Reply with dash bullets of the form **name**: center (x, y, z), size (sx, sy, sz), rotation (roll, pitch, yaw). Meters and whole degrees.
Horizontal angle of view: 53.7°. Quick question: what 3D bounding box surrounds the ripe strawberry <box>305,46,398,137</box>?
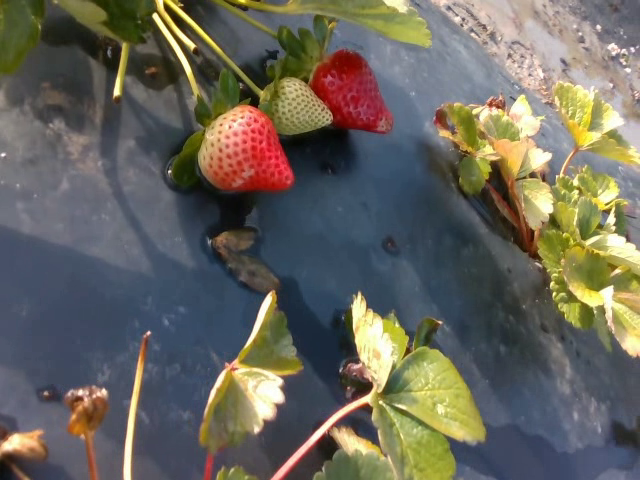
- **ripe strawberry**: center (0.022, -0.081, 0.360), size (0.065, 0.049, 0.050), rotation (46, -2, -13)
